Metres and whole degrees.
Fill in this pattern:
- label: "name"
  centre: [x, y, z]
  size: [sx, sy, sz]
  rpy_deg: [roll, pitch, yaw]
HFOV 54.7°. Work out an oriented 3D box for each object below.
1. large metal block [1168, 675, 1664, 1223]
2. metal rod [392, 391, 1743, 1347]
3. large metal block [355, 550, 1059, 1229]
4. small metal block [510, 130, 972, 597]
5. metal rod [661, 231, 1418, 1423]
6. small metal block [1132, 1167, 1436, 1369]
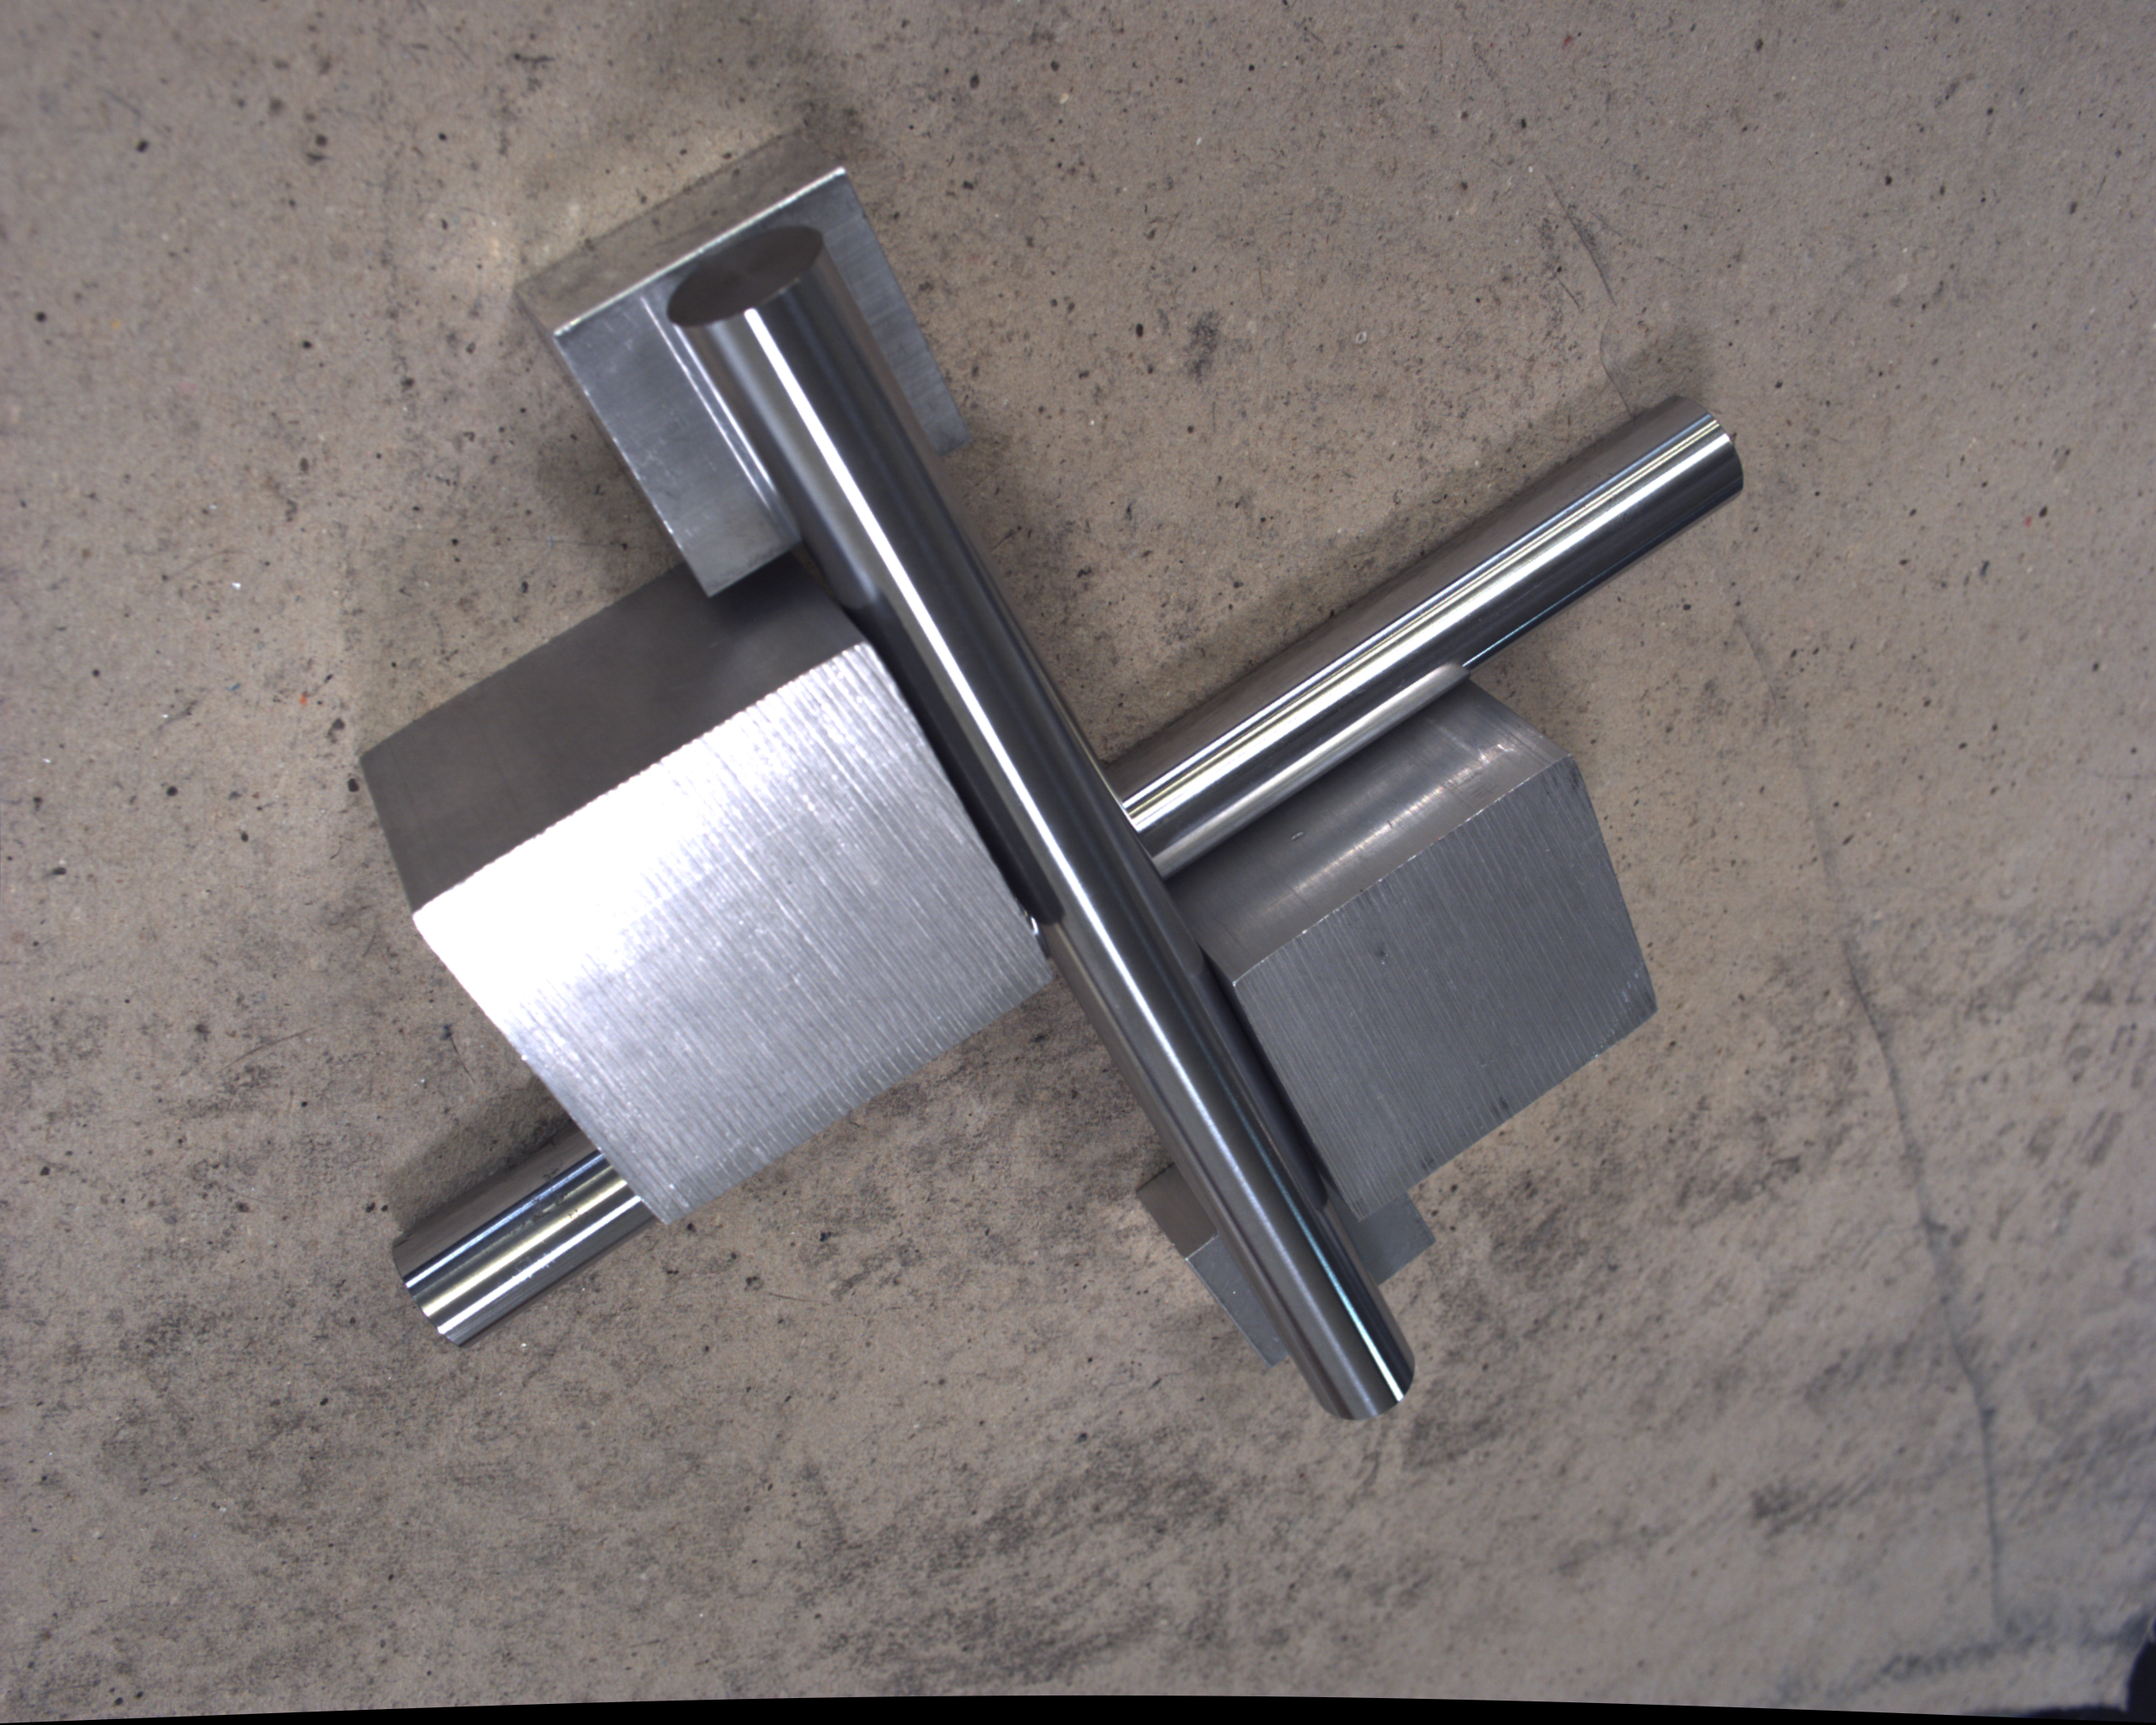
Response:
- label: "large metal block"
  centre: [0.067, 0.015, 0.438]
  size: [0.080, 0.050, 0.080]
  rpy_deg: [-34, 129, -6]
- label: "metal rod"
  centre: [0.003, -0.002, 0.409]
  size: [0.301, 0.025, 0.025]
  rpy_deg: [-34, 129, -6]
- label: "large metal block"
  centre: [-0.062, 0.002, 0.357]
  size: [0.080, 0.050, 0.080]
  rpy_deg: [-32, 129, -7]
- label: "small metal block"
  centre: [-0.053, -0.079, 0.332]
  size: [0.050, 0.025, 0.050]
  rpy_deg: [-33, 129, -7]
- label: "metal rod"
  centre: [0.009, 0.018, 0.392]
  size: [0.025, 0.025, 0.299]
  rpy_deg: [-34, 129, -6]
- label: "small metal block"
  centre: [0.049, 0.083, 0.487]
  size: [0.050, 0.025, 0.050]
  rpy_deg: [-37, 129, -4]
